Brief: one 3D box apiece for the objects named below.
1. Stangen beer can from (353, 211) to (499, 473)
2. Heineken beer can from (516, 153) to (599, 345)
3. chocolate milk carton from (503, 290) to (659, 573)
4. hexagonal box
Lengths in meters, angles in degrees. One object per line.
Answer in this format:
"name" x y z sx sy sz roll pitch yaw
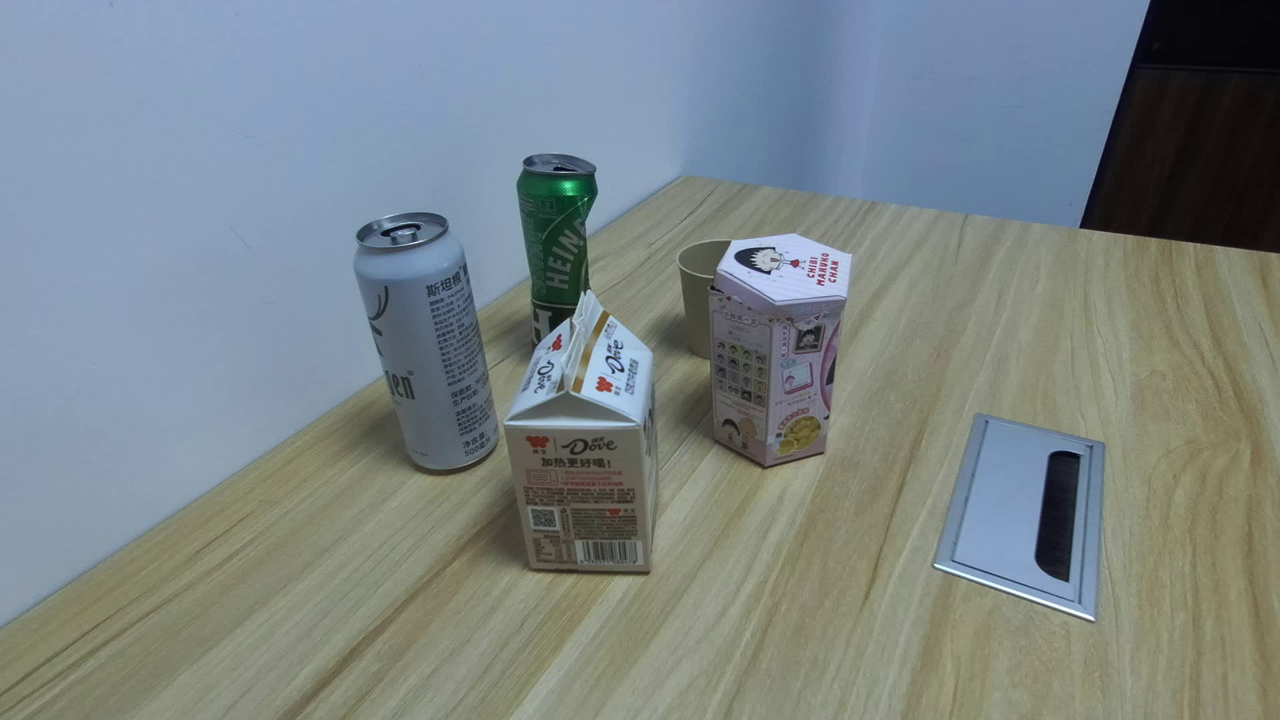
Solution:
"Stangen beer can" -0.138 -0.008 0.470 0.067 0.171 0.067 -2 33 2
"Heineken beer can" -0.057 -0.075 0.567 0.069 0.168 0.068 17 34 27
"chocolate milk carton" -0.029 0.041 0.399 0.074 0.148 0.075 0 31 6
"hexagonal box" 0.091 -0.006 0.474 0.085 0.135 0.092 8 34 15
